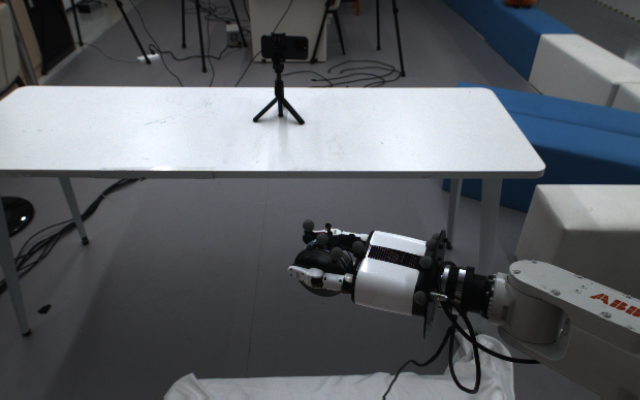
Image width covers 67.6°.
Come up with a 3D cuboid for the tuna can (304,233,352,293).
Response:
[{"bbox_3d":[0.009,0.100,0.729,0.085,0.085,0.034,16,28,19],"label":"tuna can"}]
